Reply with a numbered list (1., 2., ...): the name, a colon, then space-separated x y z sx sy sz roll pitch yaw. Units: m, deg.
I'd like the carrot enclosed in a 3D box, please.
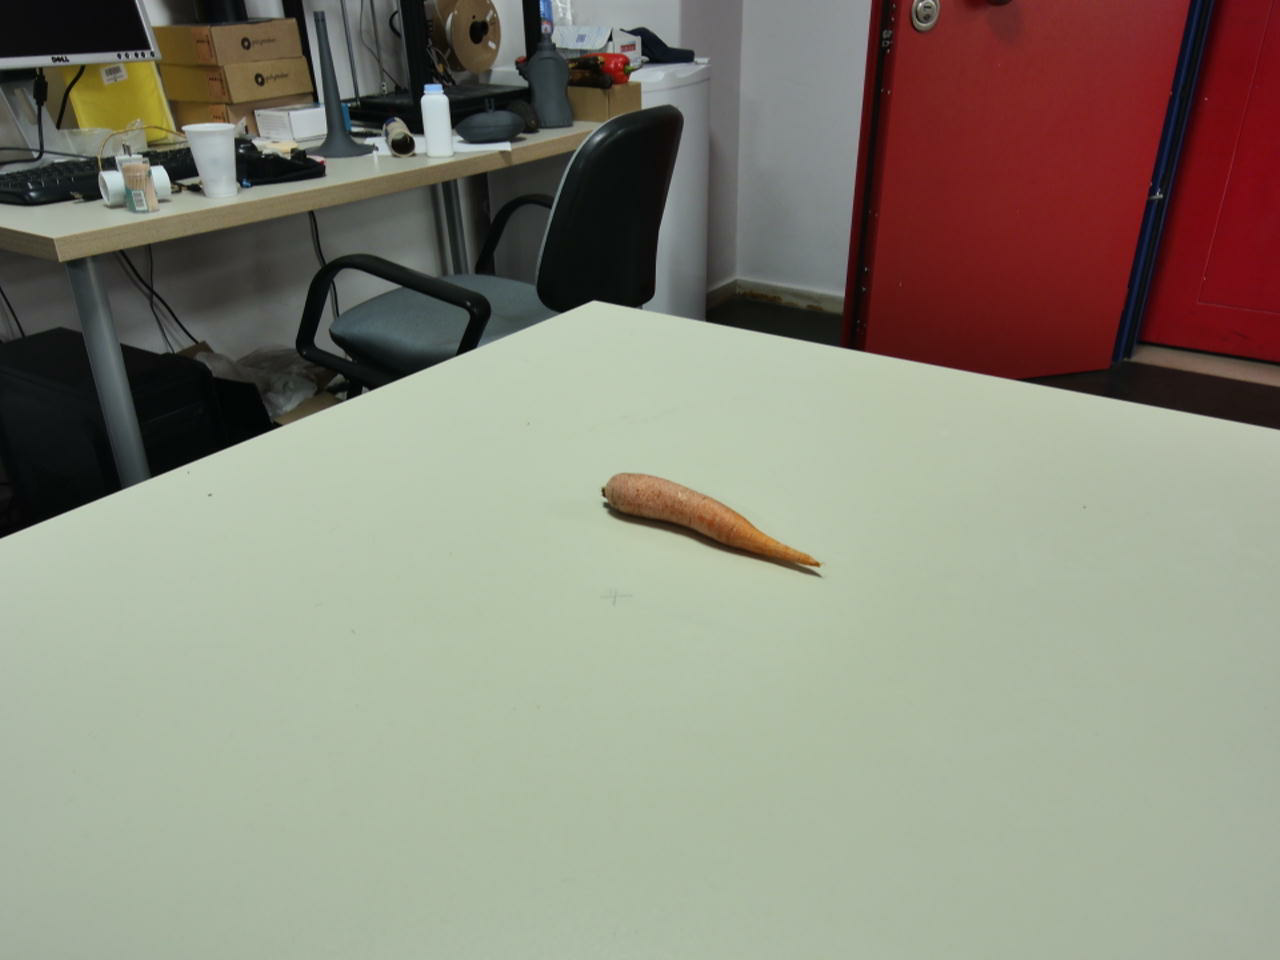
1. carrot: 0.041 0.023 0.626 0.163 0.029 0.031 17 30 32
